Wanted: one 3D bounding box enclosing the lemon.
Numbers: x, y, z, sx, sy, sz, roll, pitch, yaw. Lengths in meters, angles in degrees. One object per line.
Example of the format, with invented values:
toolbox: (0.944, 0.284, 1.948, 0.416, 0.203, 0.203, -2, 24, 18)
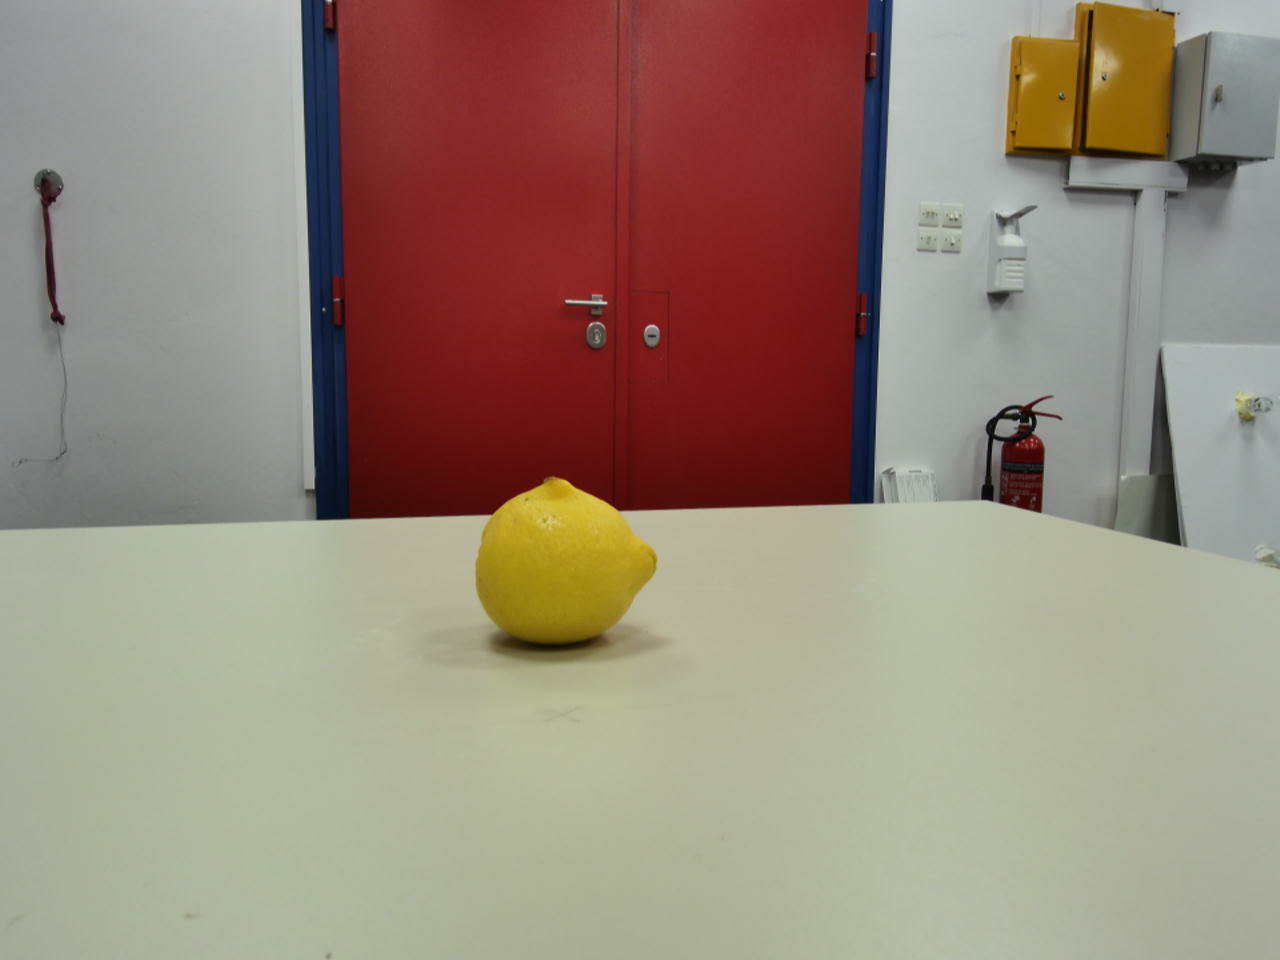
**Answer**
lemon: (-0.036, 0.034, 0.432, 0.071, 0.071, 0.070, 3, 6, 43)
